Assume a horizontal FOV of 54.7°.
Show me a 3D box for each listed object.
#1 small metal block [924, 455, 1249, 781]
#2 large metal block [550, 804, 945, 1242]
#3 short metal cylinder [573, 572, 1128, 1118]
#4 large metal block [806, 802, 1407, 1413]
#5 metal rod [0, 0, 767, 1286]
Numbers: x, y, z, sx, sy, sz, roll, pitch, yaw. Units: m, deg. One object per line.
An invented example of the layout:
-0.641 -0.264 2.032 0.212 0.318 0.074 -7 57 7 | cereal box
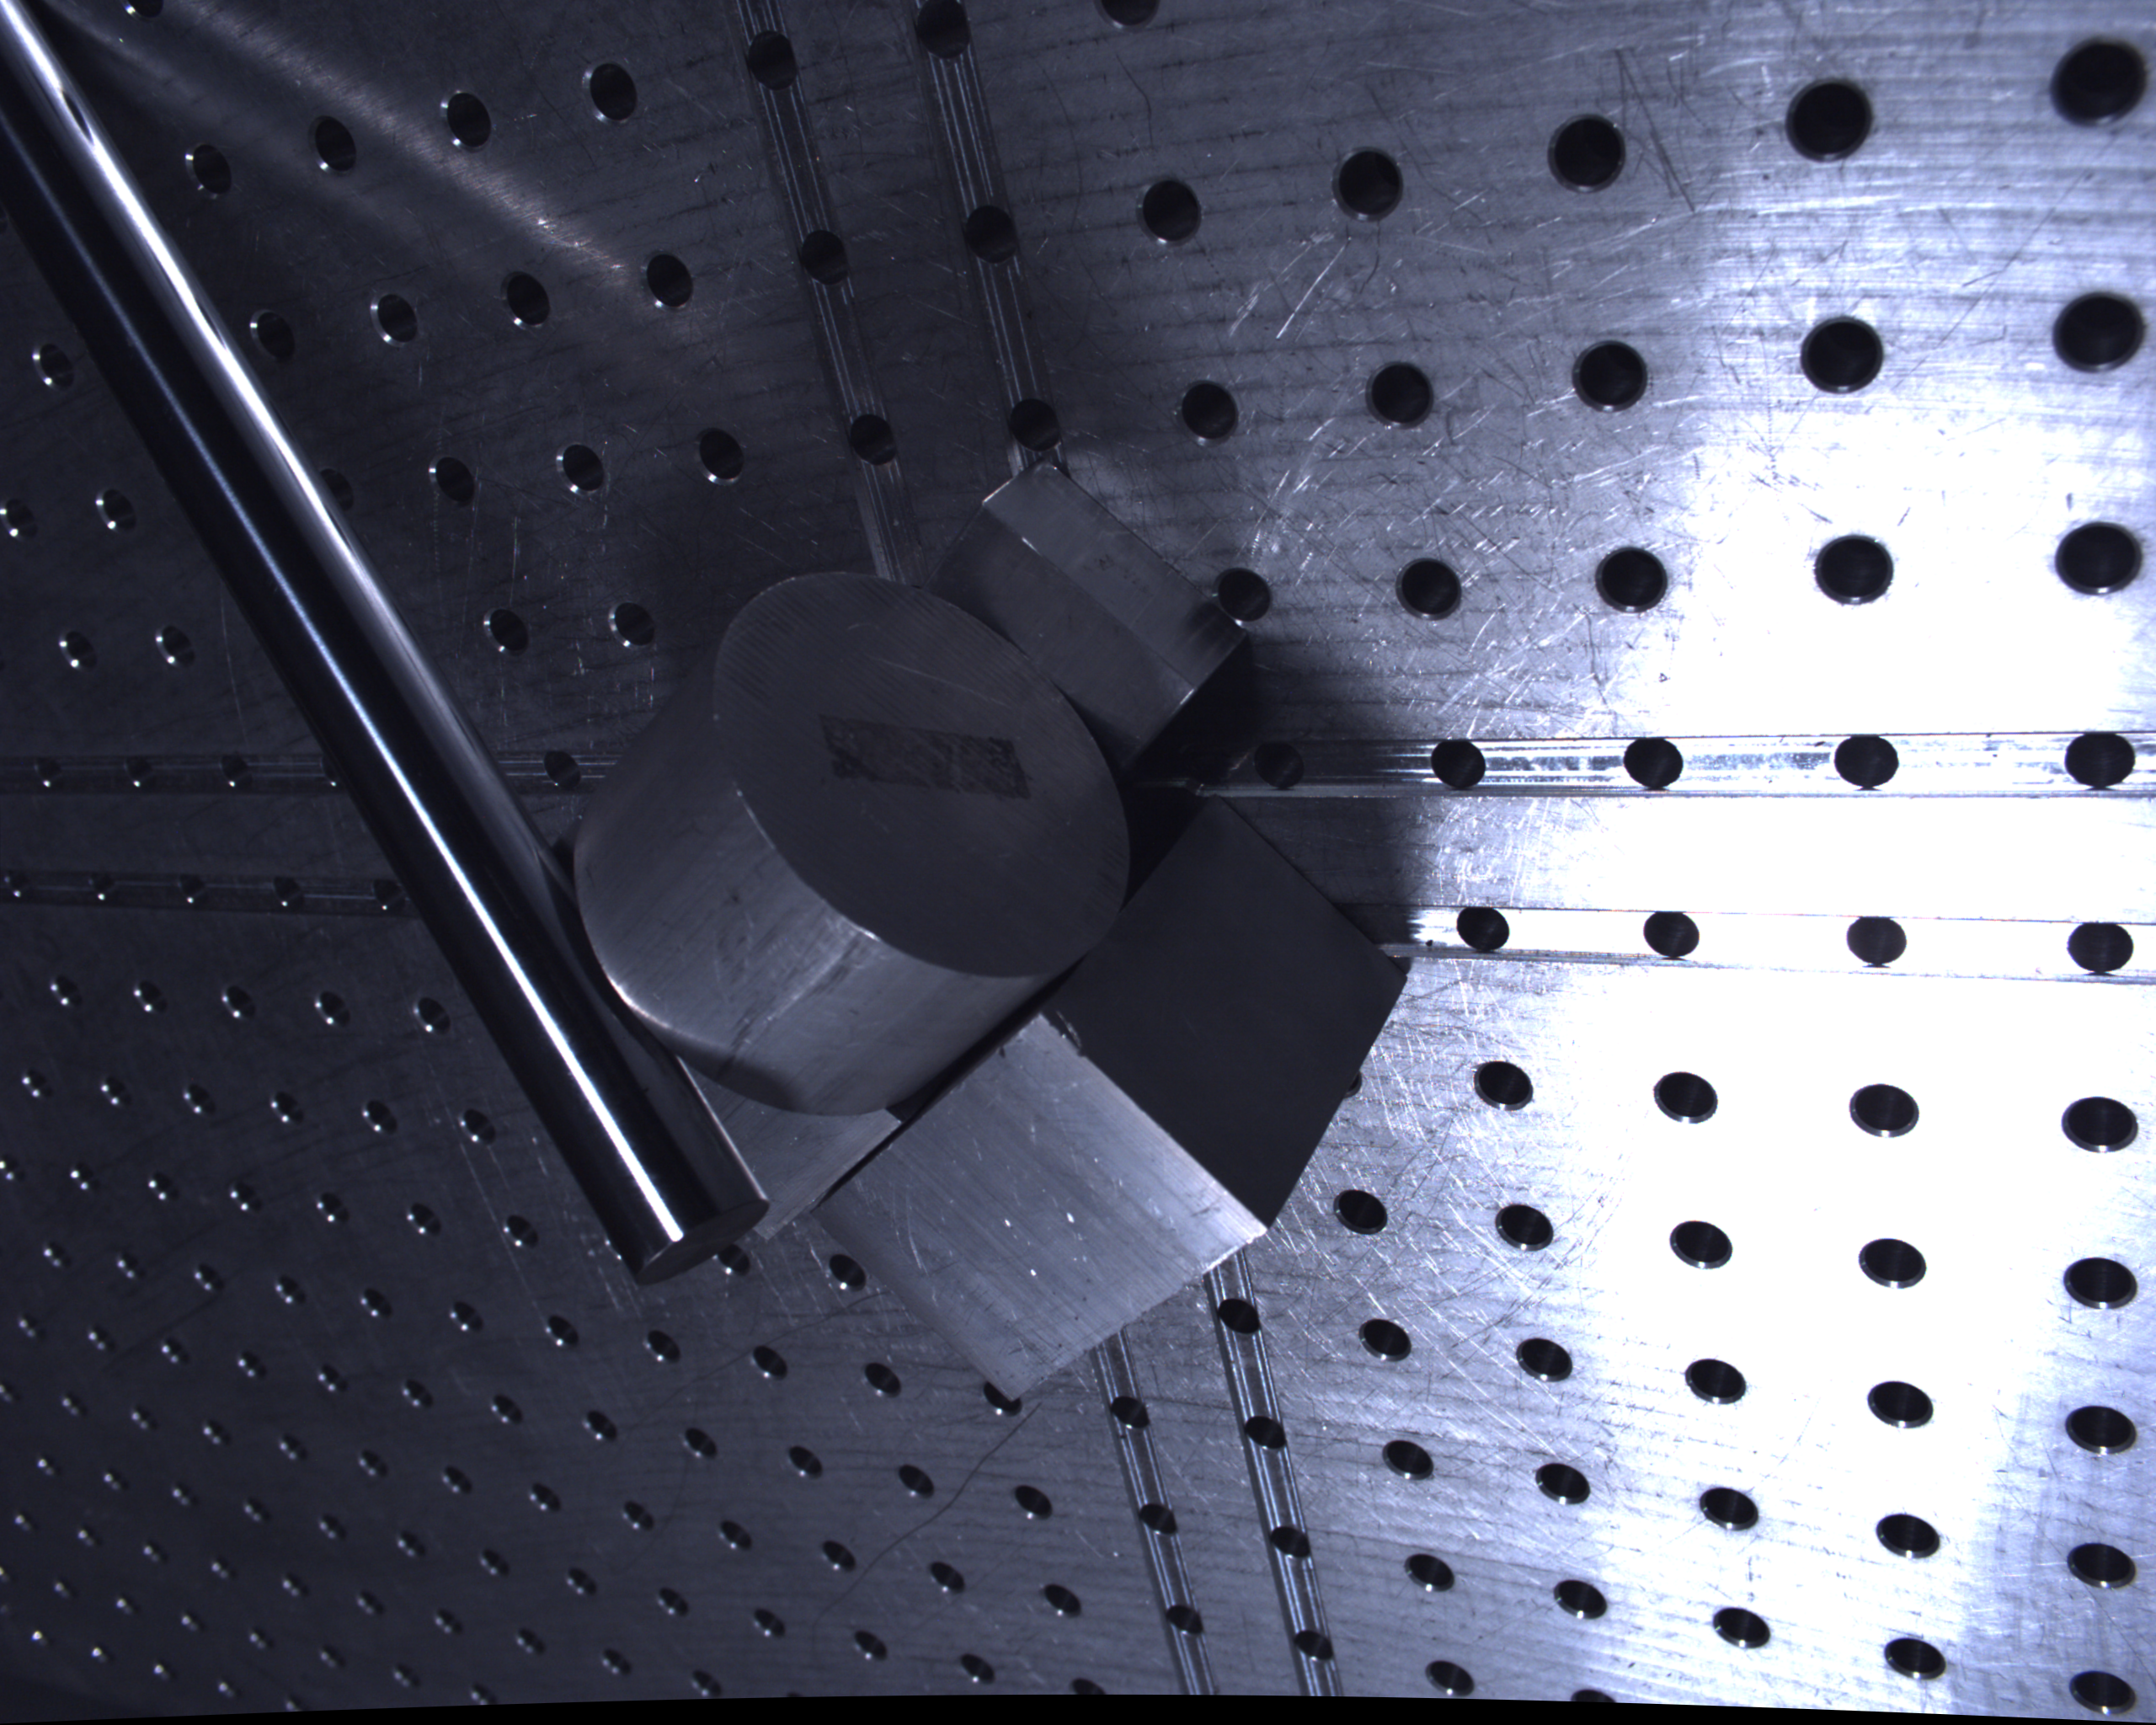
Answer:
-0.005 -0.038 0.390 0.050 0.025 0.050 41 129 -1 | small metal block
-0.056 0.013 0.413 0.080 0.080 0.050 44 129 -3 | large metal block
-0.039 -0.003 0.360 0.080 0.080 0.050 45 129 -4 | short metal cylinder
0.007 0.046 0.397 0.050 0.080 0.080 44 129 -3 | large metal block
-0.145 -0.056 0.383 0.299 0.025 0.025 55 131 16 | metal rod
